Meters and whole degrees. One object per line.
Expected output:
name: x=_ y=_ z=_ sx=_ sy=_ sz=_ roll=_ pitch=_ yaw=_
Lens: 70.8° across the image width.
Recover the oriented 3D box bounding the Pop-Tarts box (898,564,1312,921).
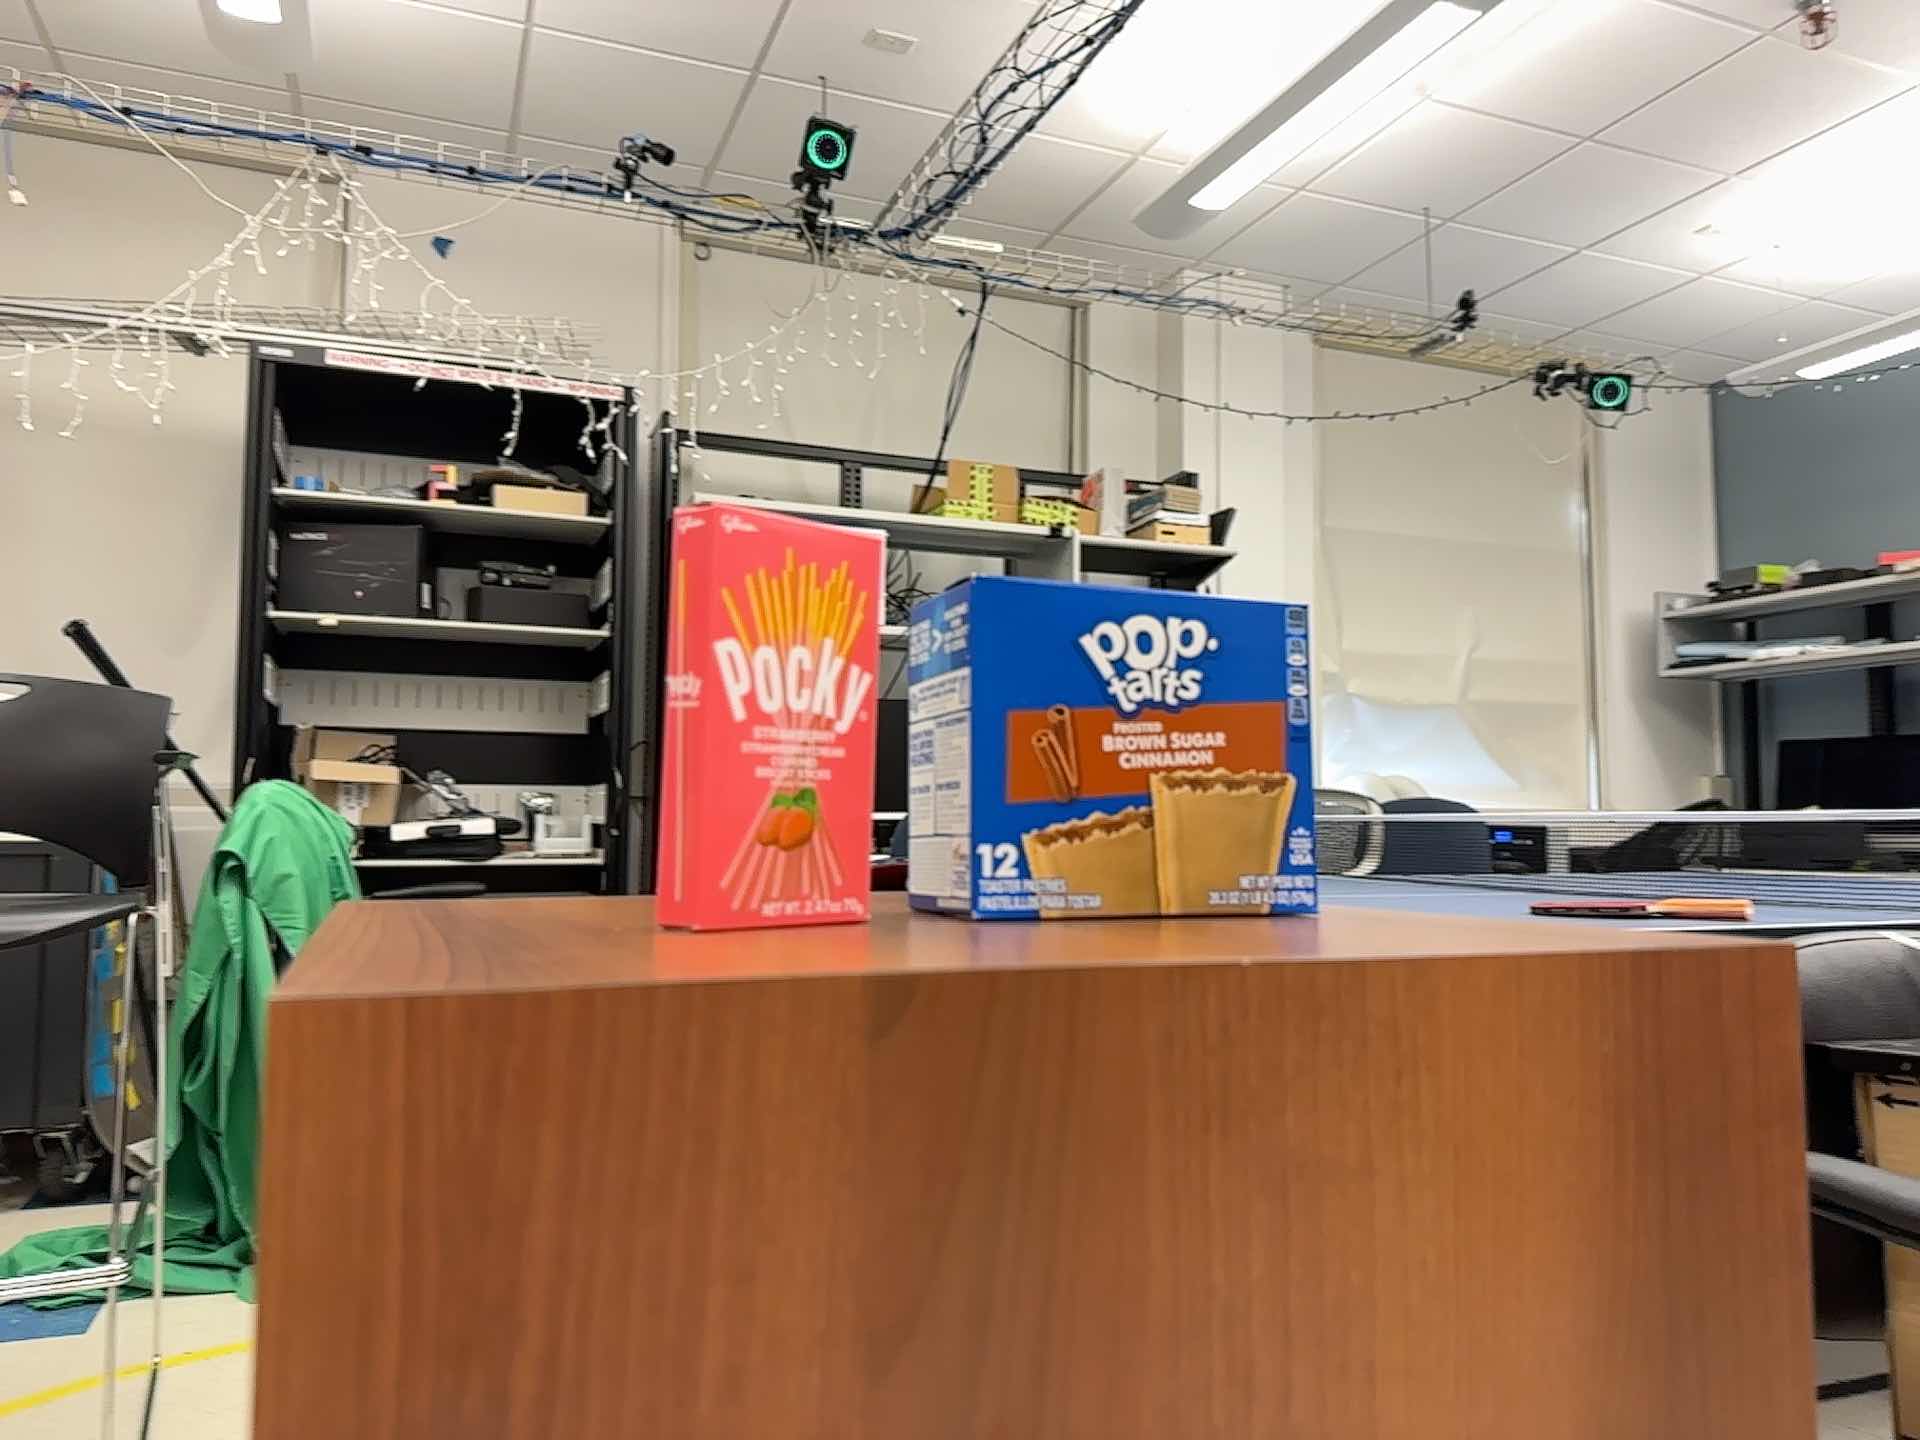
Pop-Tarts box: x=0.064 y=0.016 z=0.595 sx=0.161 sy=0.135 sz=0.075 roll=5 pitch=-8 yaw=-22

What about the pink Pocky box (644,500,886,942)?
pink Pocky box: x=-0.070 y=0.002 z=0.500 sx=0.084 sy=0.155 sz=0.029 roll=6 pitch=-5 yaw=-43
